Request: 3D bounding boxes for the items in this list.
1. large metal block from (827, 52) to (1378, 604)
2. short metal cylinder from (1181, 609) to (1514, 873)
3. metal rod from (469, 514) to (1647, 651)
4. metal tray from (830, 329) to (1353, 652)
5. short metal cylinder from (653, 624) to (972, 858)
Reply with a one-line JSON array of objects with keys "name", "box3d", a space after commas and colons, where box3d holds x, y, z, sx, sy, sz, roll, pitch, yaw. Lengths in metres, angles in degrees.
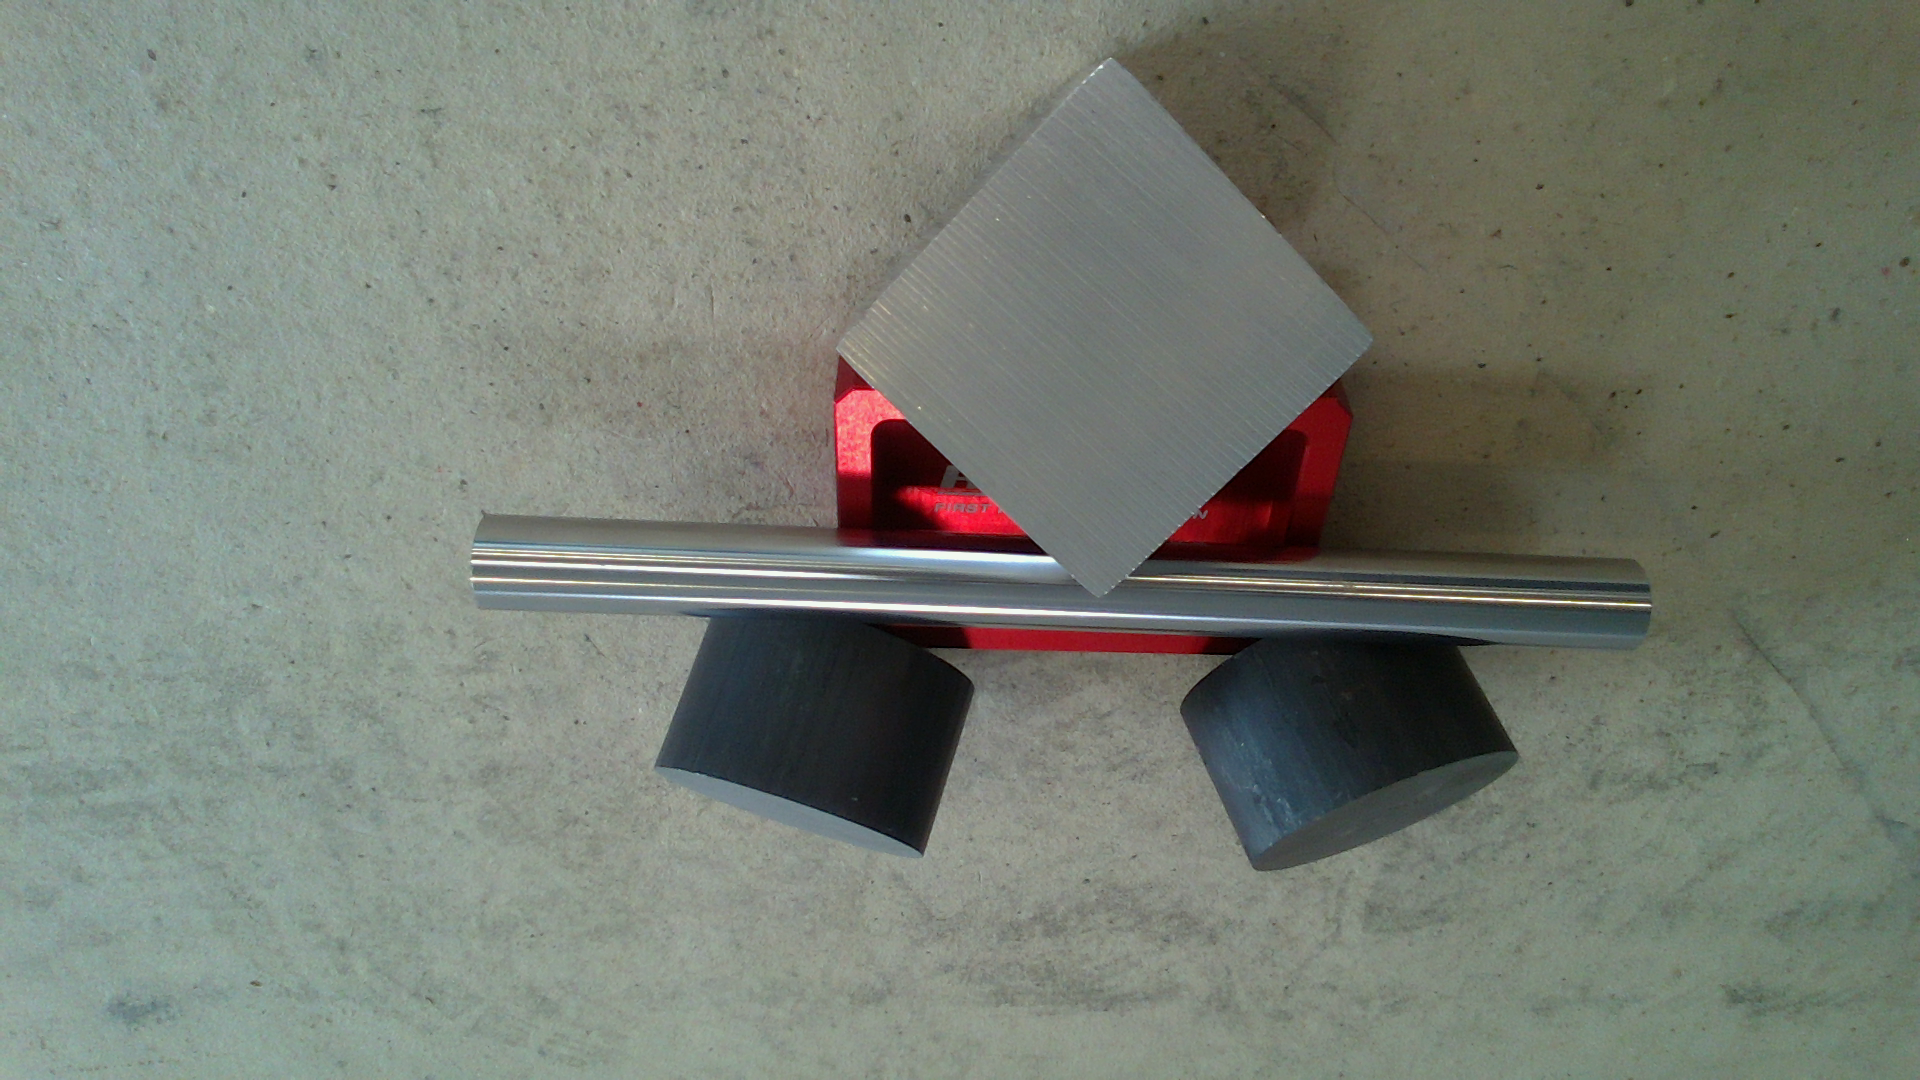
[{"name": "large metal block", "box3d": [0.029, -0.048, 0.306, 0.080, 0.050, 0.080, 43, 102, -12]}, {"name": "short metal cylinder", "box3d": [0.112, 0.057, 0.402, 0.080, 0.050, 0.080, -17, 154, -9]}, {"name": "metal rod", "box3d": [0.027, 0.011, 0.361, 0.300, 0.025, 0.025, 2, 130, -2]}, {"name": "metal tray", "box3d": [0.032, -0.012, 0.378, 0.130, 0.030, 0.090, 1, 130, -1]}, {"name": "short metal cylinder", "box3d": [-0.041, 0.055, 0.397, 0.080, 0.050, 0.080, 16, 162, 6]}]
